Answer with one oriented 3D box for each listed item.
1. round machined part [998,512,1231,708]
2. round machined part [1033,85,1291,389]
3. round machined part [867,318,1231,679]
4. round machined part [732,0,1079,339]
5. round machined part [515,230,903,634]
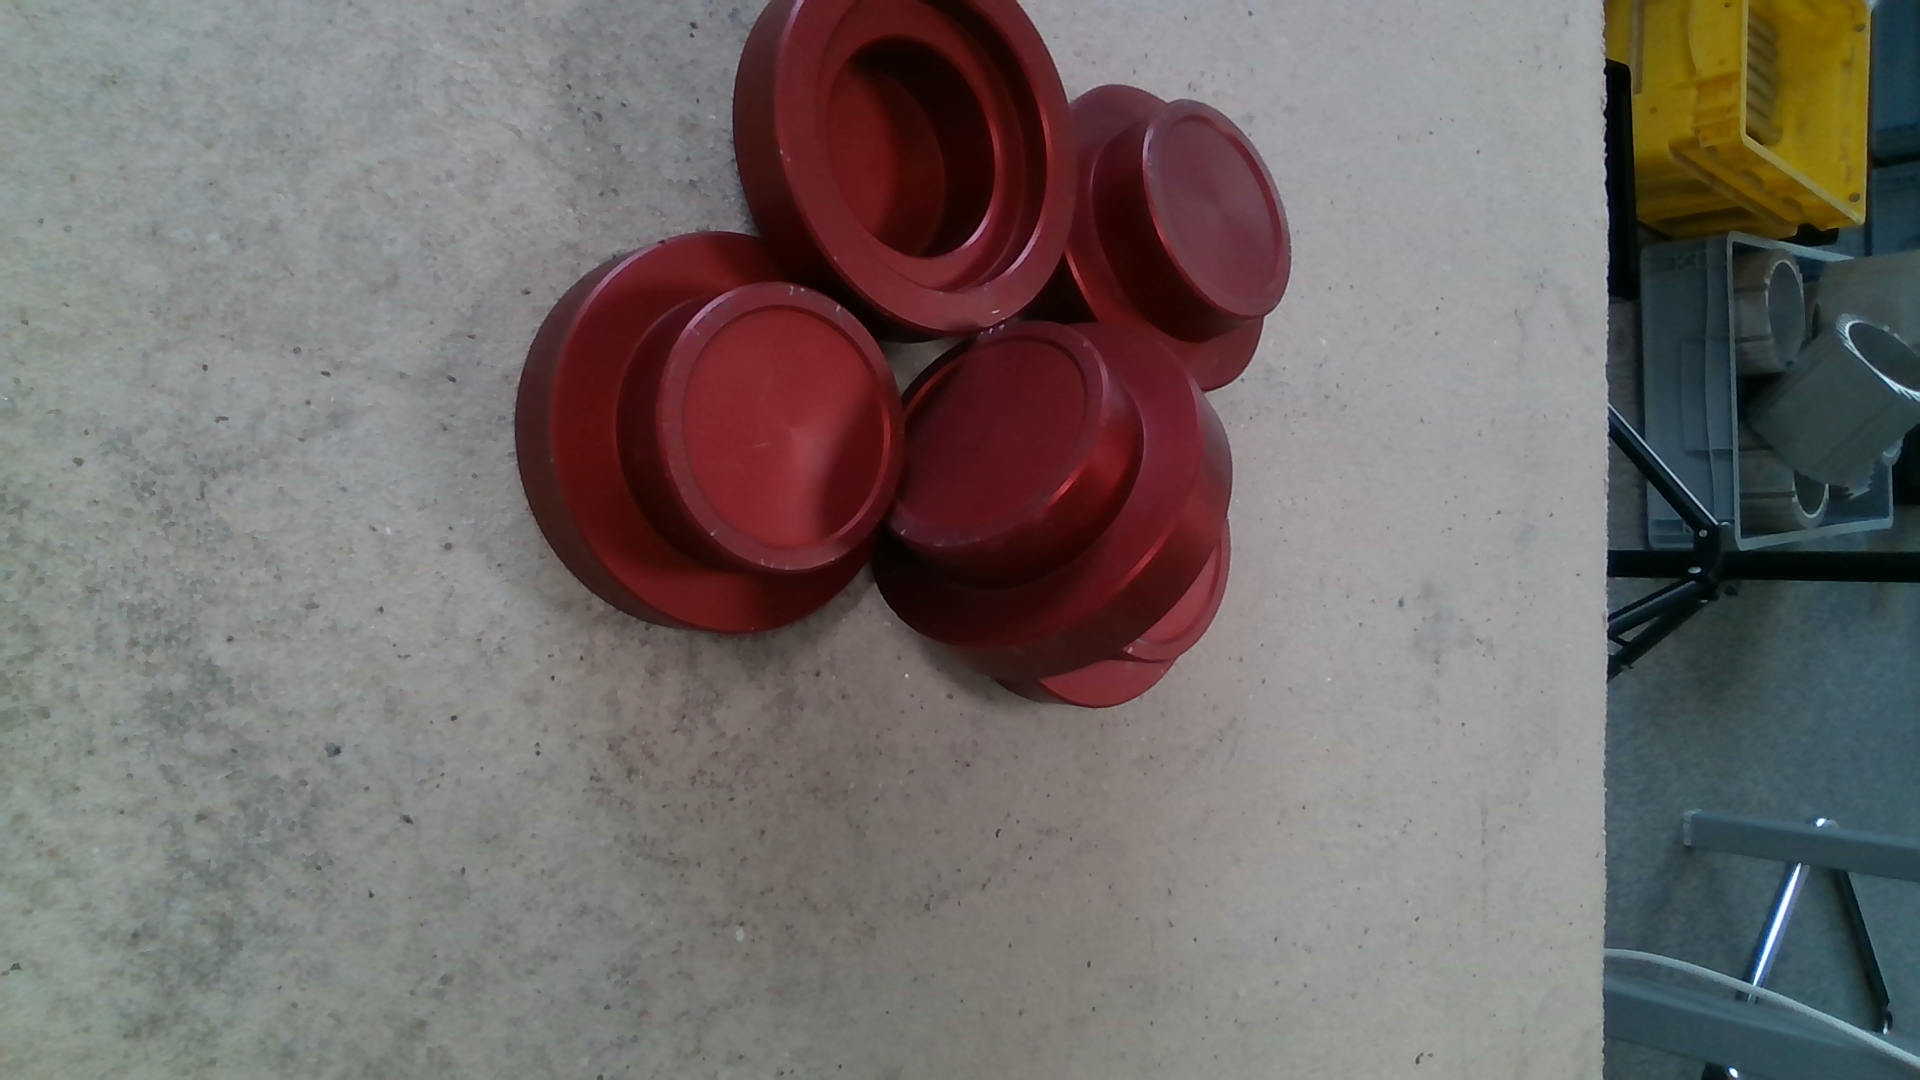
[{"bbox_3d":[0.045,0.002,0.418,0.098,0.042,0.098,-1,91,-41],"label":"round machined part"},{"bbox_3d":[0.063,-0.093,0.420,0.098,0.042,0.098,15,67,-38],"label":"round machined part"},{"bbox_3d":[0.016,-0.017,0.354,0.042,0.098,0.098,44,63,-47],"label":"round machined part"},{"bbox_3d":[-0.018,-0.102,0.365,0.098,0.042,0.098,0,90,-39],"label":"round machined part"},{"bbox_3d":[-0.053,-0.026,0.335,0.098,0.042,0.098,-1,91,-42],"label":"round machined part"}]
